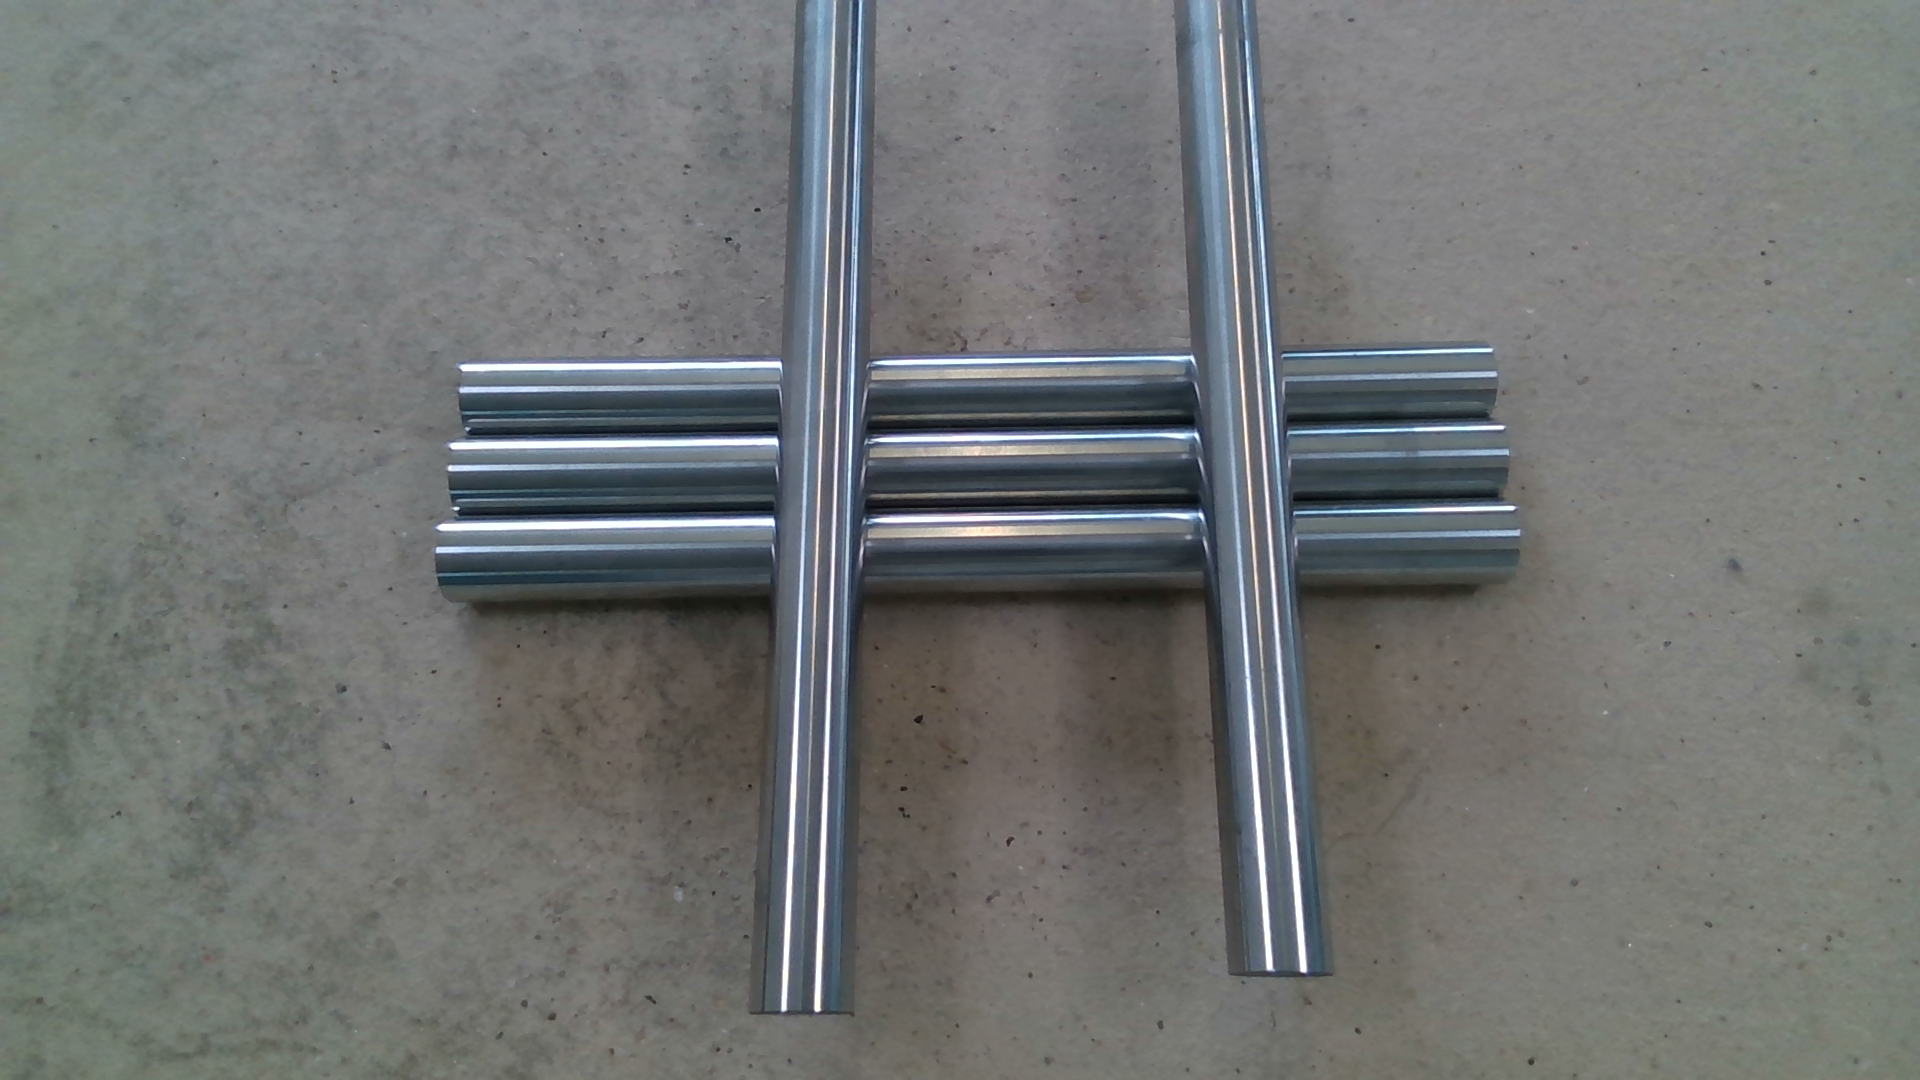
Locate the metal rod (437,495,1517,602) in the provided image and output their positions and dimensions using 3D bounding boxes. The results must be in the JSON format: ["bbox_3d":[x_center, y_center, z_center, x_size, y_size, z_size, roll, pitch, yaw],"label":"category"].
[{"bbox_3d":[0.005,0.003,0.395,0.300,0.025,0.025,-1,70,0],"label":"metal rod"}]

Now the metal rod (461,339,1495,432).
[{"bbox_3d":[0.005,-0.045,0.412,0.300,0.025,0.025,-1,70,0],"label":"metal rod"}]

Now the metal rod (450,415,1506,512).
[{"bbox_3d":[0.005,-0.021,0.403,0.300,0.025,0.025,-1,70,0],"label":"metal rod"}]

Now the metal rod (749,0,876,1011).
[{"bbox_3d":[-0.038,-0.028,0.379,0.025,0.025,0.299,0,71,0],"label":"metal rod"}]

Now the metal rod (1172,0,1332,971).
[{"bbox_3d":[0.078,-0.037,0.382,0.025,0.025,0.299,0,71,0],"label":"metal rod"}]
